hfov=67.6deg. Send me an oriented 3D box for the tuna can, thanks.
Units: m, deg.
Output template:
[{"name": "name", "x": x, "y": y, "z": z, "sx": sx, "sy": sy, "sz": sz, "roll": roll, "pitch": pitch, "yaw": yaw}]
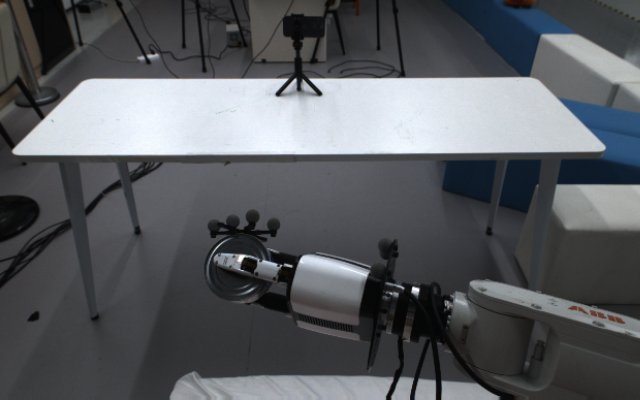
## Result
[{"name": "tuna can", "x": -0.099, "y": 0.092, "z": 0.612, "sx": 0.085, "sy": 0.034, "sz": 0.085, "roll": -2, "pitch": 69, "yaw": 6}]
